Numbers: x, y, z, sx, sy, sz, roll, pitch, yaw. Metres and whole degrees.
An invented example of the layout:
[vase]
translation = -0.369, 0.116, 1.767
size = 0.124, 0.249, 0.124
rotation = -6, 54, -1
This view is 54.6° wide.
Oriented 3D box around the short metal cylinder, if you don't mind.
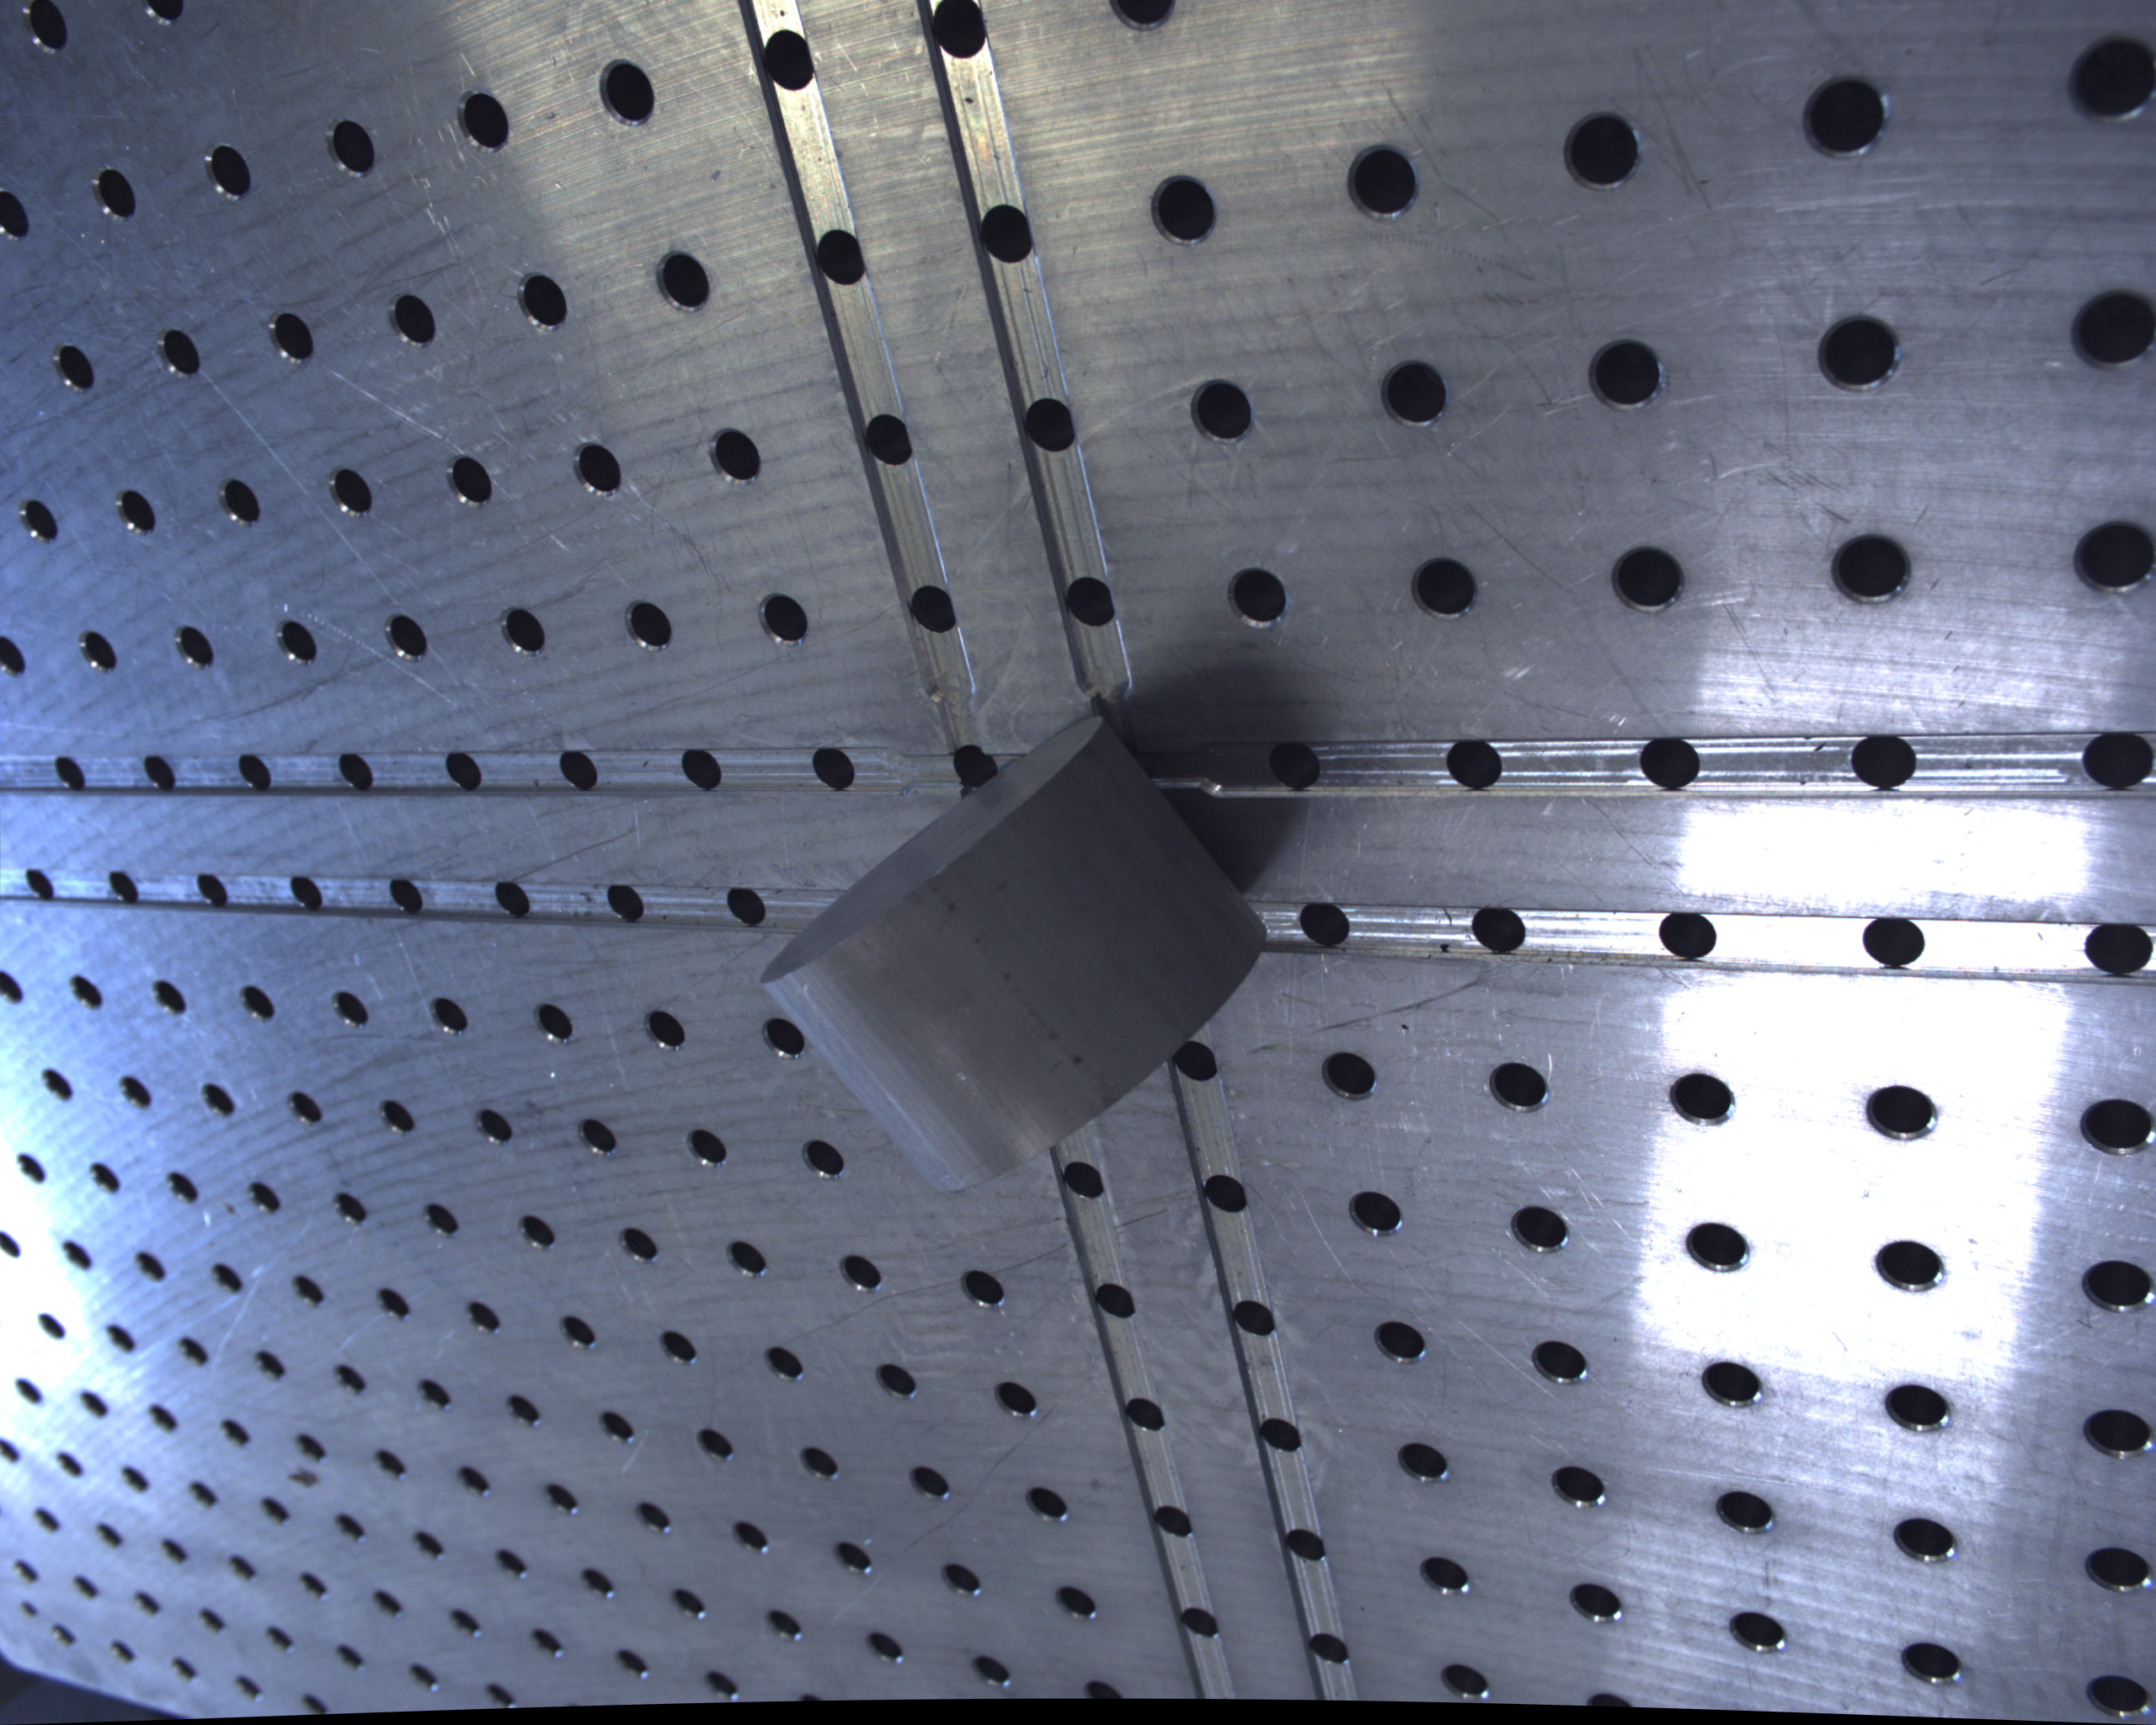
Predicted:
[short metal cylinder]
translation = -0.012, 0.017, 0.392
size = 0.080, 0.080, 0.050
rotation = -32, 100, 38
